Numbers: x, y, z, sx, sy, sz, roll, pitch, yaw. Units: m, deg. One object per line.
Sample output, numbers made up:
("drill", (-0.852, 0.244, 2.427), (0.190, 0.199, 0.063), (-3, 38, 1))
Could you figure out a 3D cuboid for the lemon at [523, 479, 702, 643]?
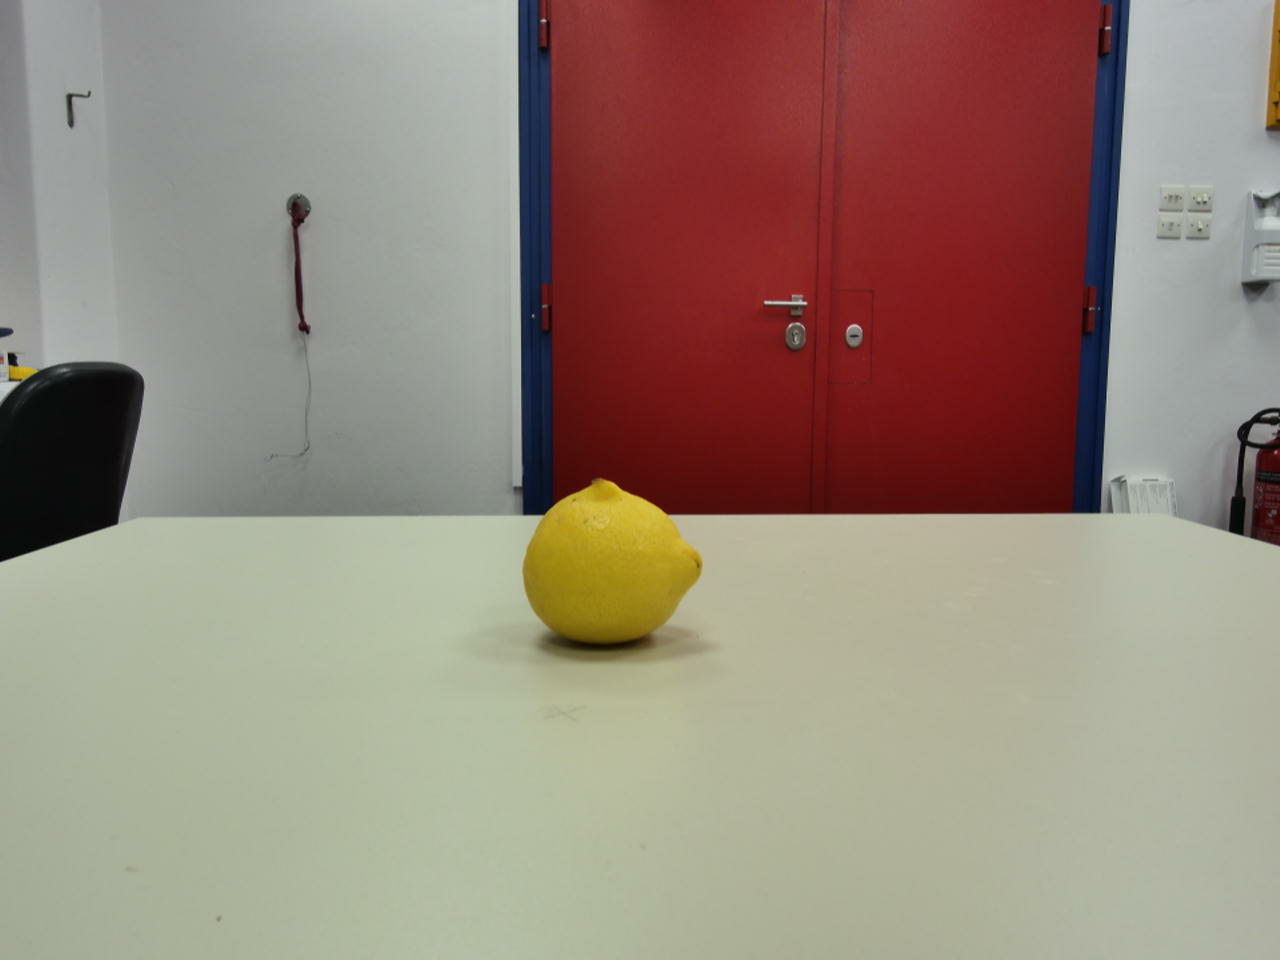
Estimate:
("lemon", (-0.016, 0.035, 0.437), (0.070, 0.071, 0.071), (-4, 5, -34))
